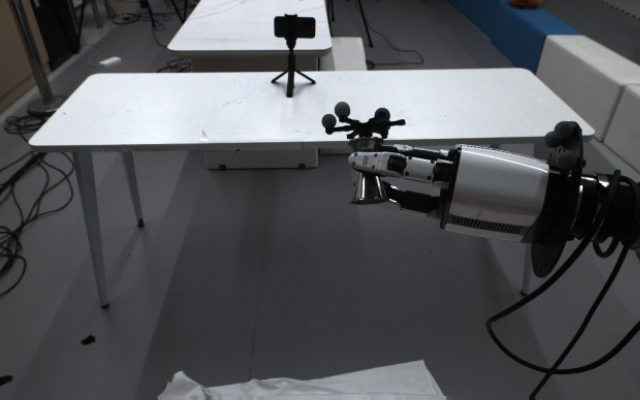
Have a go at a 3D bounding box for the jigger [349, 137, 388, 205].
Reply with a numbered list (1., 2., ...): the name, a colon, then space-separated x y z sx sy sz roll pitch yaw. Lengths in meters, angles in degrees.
1. jigger: 0.052 -0.032 0.531 0.043 0.071 0.043 -2 -7 0
